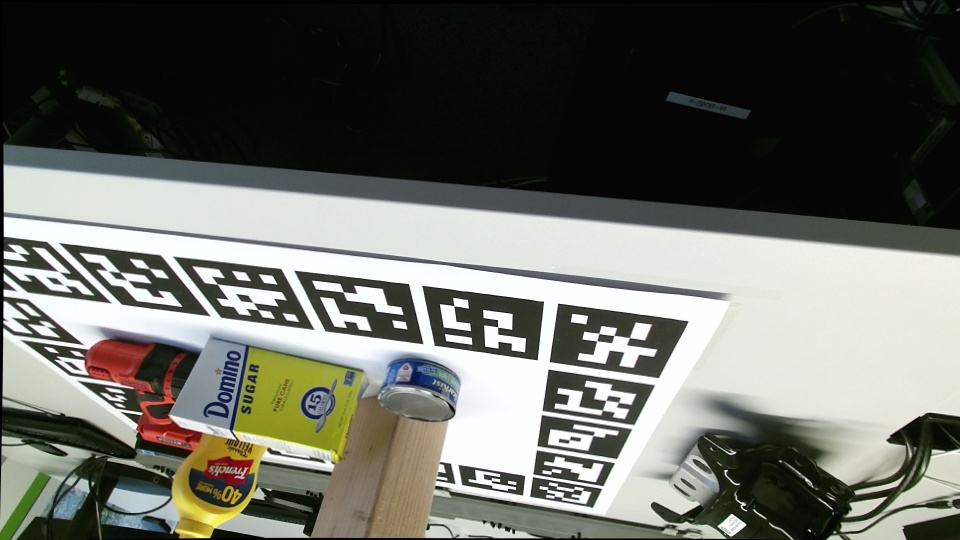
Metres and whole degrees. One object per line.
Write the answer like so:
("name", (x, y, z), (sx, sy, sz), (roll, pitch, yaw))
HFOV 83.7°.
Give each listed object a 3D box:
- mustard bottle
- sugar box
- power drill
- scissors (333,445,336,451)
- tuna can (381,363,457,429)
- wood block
("mustard bottle", (-0.334, 0.255, 0.671), (0.058, 0.190, 0.096), (-26, 126, 35))
("sugar box", (-0.236, 0.142, 0.584), (0.177, 0.092, 0.045), (15, 143, -1))
("power drill", (-0.373, 0.173, 0.676), (0.185, 0.057, 0.187), (15, 133, -4))
("scissors", (-0.183, 0.252, 0.752), (0.203, 0.016, 0.088), (7, 143, 5))
("tuna can", (-0.069, 0.136, 0.574), (0.086, 0.033, 0.086), (7, 138, 7))
("wood block", (-0.119, 0.257, 0.613), (0.091, 0.205, 0.090), (-15, 132, 28))
